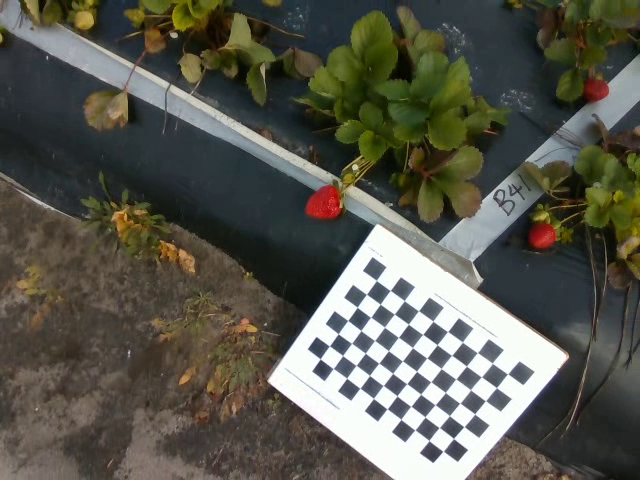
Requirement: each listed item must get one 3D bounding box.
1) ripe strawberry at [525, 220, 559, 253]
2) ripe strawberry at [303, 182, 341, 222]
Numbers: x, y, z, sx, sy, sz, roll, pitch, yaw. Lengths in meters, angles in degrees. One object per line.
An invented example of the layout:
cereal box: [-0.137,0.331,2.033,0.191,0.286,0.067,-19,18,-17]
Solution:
ripe strawberry: [0.266,-0.002,0.809,0.047,0.038,0.031,-36,-8,-39]
ripe strawberry: [0.004,-0.046,0.827,0.052,0.048,0.030,-17,2,-9]
